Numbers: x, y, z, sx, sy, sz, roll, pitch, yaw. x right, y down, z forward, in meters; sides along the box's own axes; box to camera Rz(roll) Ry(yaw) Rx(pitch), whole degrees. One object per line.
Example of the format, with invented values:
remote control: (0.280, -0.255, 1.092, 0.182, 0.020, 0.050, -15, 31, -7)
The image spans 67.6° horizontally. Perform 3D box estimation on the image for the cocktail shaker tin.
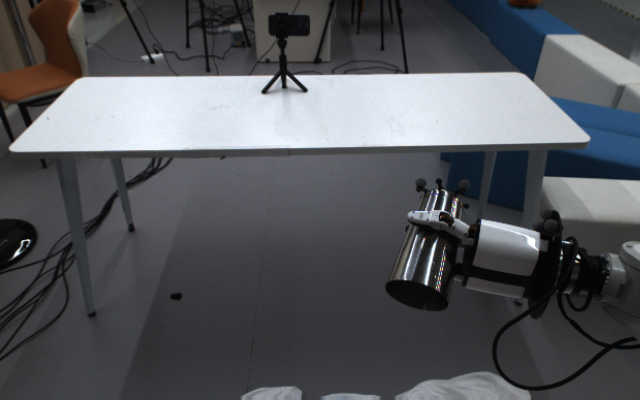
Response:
cocktail shaker tin: (0.164, 0.066, 0.726, 0.093, 0.093, 0.170, 14, 57, 16)
